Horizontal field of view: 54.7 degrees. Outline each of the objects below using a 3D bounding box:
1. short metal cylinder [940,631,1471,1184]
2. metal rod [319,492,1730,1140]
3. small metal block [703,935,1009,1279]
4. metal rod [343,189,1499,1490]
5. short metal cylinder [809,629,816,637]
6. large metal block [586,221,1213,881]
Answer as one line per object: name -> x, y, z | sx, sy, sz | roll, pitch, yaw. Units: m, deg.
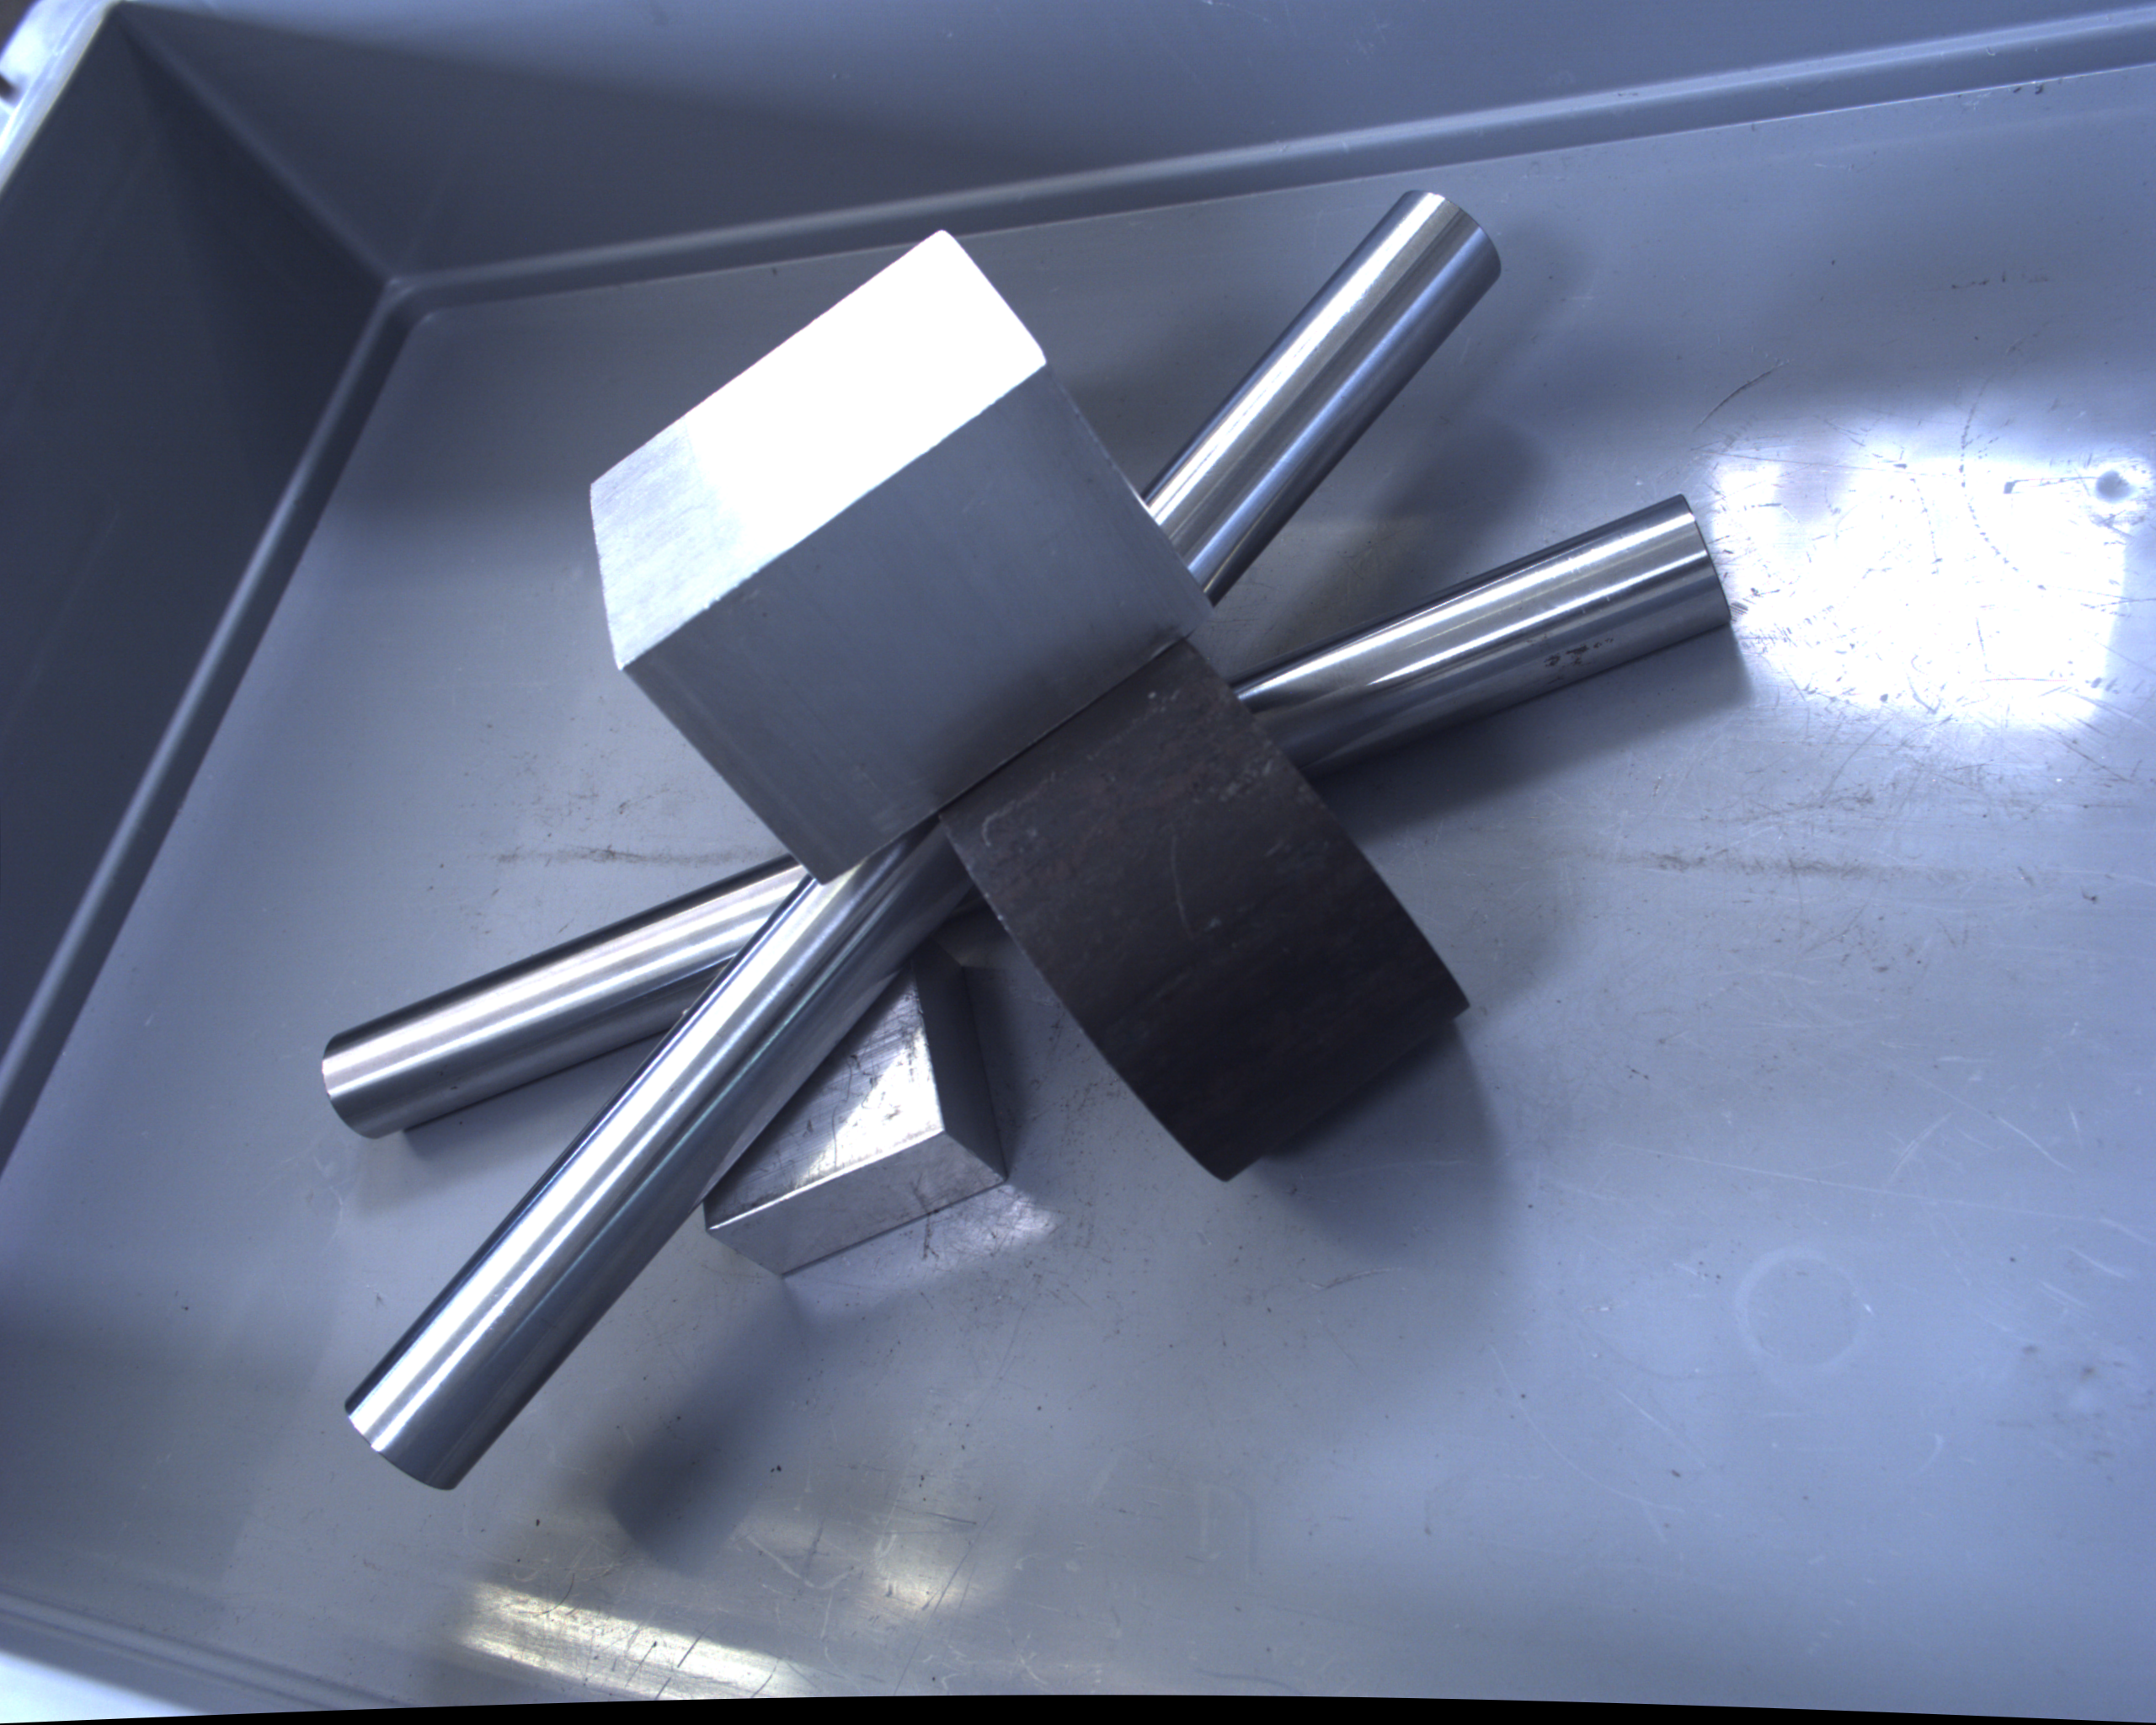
short metal cylinder -> 0.021, 0.007, 0.353 | 0.050, 0.080, 0.080 | -38, 51, 4
metal rod -> -0.022, -0.003, 0.417 | 0.301, 0.025, 0.025 | -21, 54, 15
small metal block -> -0.046, 0.044, 0.400 | 0.050, 0.025, 0.050 | -25, 53, 13
metal rod -> -0.024, -0.010, 0.391 | 0.025, 0.025, 0.300 | 35, 80, 38
short metal cylinder -> -0.028, -0.057, 0.437 | 0.080, 0.050, 0.080 | -13, 56, 21
large metal block -> -0.034, -0.056, 0.359 | 0.080, 0.050, 0.080 | -35, 34, 6
